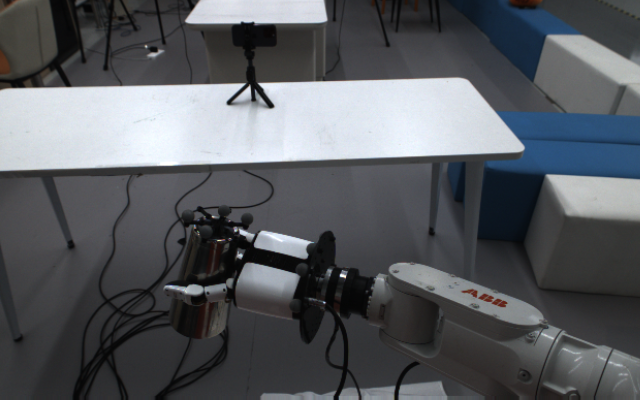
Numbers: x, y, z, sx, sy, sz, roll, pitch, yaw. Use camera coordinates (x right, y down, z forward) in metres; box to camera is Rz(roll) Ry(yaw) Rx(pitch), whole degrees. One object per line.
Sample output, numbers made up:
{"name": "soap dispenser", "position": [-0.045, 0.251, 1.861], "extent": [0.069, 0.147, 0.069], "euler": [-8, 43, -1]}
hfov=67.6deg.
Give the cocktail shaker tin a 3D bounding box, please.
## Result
{"name": "cocktail shaker tin", "position": [-0.164, 0.109, 0.711], "extent": [0.093, 0.170, 0.093], "euler": [12, 29, -7]}
